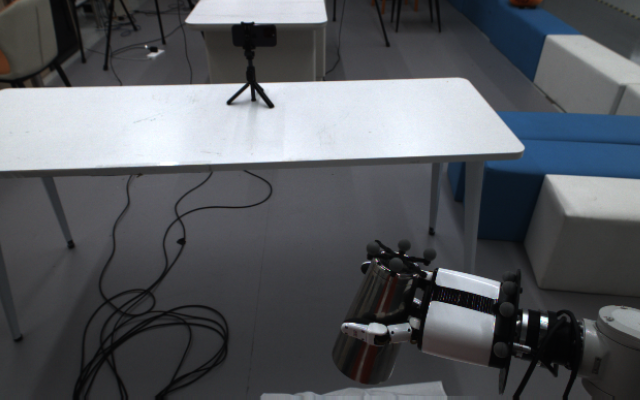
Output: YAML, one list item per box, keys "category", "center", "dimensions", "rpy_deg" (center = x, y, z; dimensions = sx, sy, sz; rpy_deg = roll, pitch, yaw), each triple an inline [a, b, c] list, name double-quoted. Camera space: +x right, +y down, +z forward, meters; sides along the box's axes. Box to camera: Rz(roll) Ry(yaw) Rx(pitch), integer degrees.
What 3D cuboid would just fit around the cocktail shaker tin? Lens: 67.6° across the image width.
- category: "cocktail shaker tin"
  center: [0.083, 0.155, 0.669]
  dimensions: [0.093, 0.170, 0.093]
  rpy_deg: [12, 24, -5]
